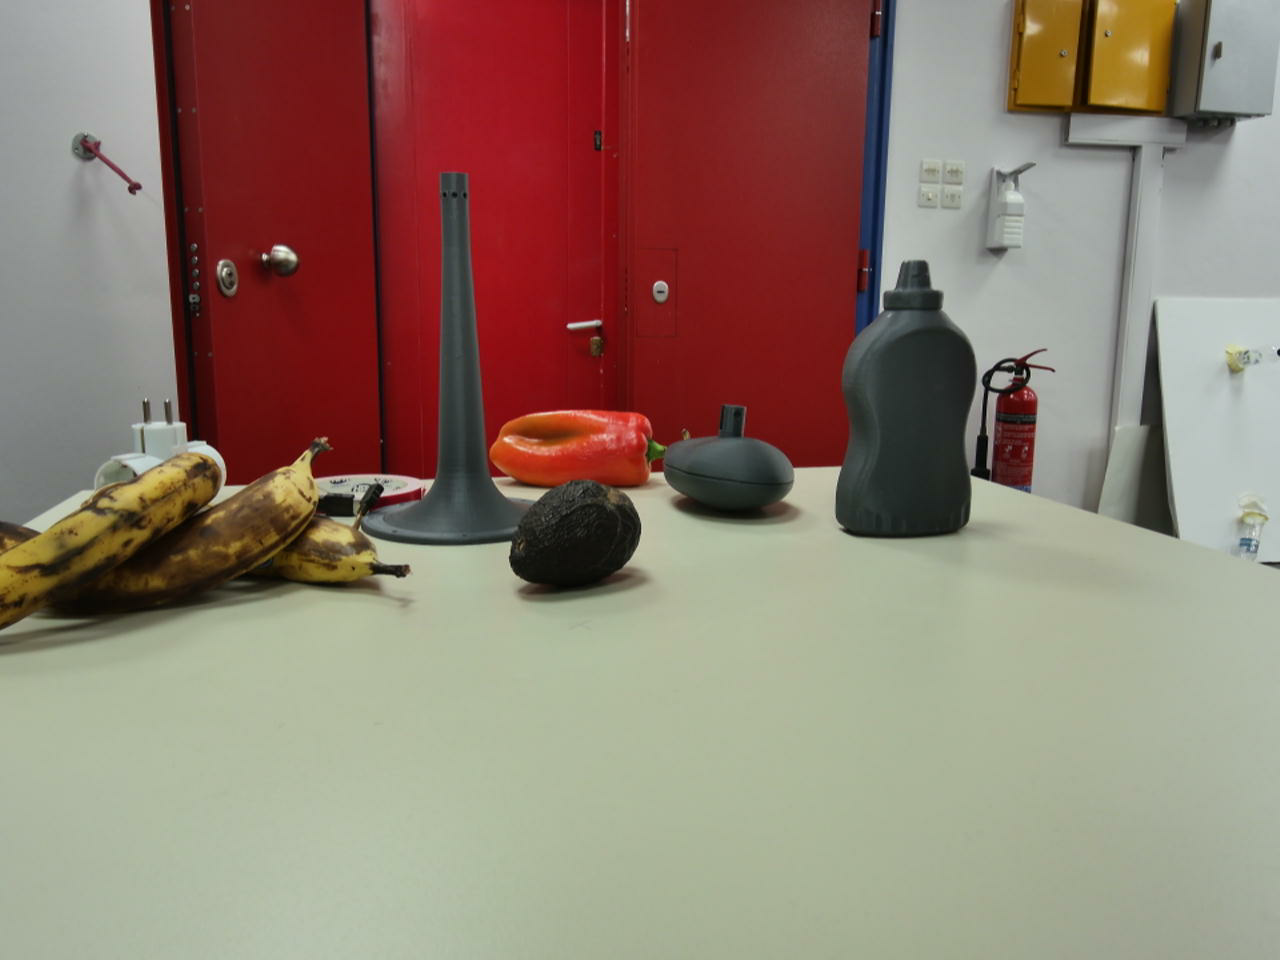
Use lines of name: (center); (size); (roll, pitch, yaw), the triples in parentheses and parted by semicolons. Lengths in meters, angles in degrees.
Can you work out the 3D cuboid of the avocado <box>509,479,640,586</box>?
avocado: (-0.040, 0.031, 0.599); (0.092, 0.062, 0.062); (-6, 10, -36)
